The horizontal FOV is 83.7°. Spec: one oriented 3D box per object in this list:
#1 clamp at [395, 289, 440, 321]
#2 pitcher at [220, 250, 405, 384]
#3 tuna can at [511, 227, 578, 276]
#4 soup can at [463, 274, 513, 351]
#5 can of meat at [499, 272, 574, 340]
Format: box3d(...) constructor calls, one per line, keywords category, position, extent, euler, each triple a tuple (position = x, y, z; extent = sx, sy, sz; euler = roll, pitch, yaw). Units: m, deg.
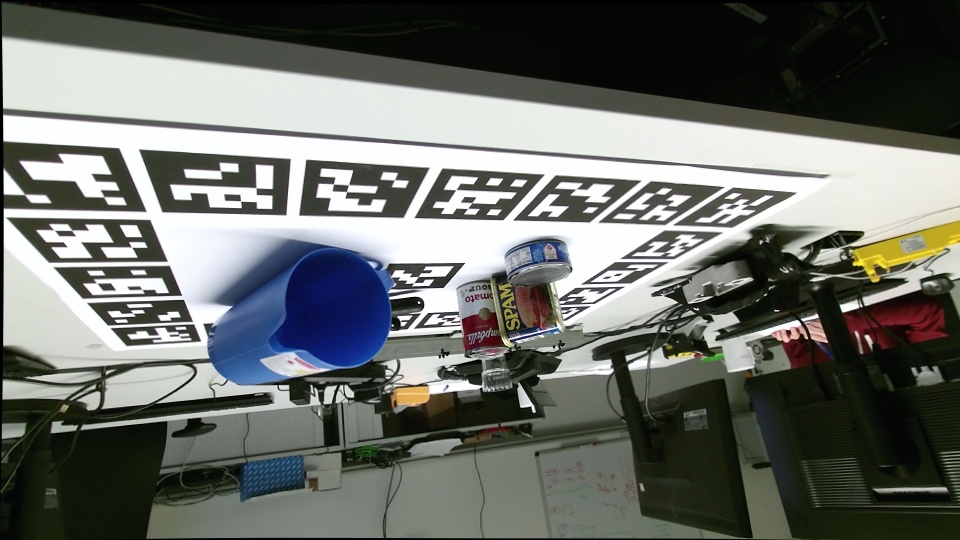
box3d(category="clamp", position=(-0.157, 0.054, 0.825), extent=(0.166, 0.036, 0.122), euler=(3, 160, -21))
box3d(category="pitcher", position=(-0.217, 0.069, 0.668), extent=(0.243, 0.133, 0.189), euler=(-21, 179, 43))
box3d(category="tuna can", position=(0.085, -0.025, 0.709), extent=(0.086, 0.033, 0.086), euler=(-9, 157, -4))
box3d(category="soup can", position=(0.016, 0.064, 0.816), extent=(0.068, 0.101, 0.068), euler=(-12, 158, -5))
box3d(category="can of meat", position=(0.082, 0.040, 0.772), extent=(0.084, 0.101, 0.058), euler=(-19, 157, 11))
